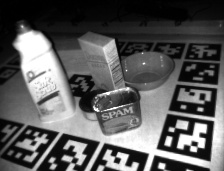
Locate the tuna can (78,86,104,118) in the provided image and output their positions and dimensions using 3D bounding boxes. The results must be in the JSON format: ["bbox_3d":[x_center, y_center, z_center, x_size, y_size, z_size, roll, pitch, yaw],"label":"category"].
[{"bbox_3d":[-0.054,0.041,0.561,0.085,0.034,0.085,-9,42,9],"label":"tuna can"}]

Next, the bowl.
[{"bbox_3d":[0.094,-0.045,0.610,0.161,0.056,0.161,-11,37,9],"label":"bowl"}]

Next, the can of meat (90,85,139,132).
[{"bbox_3d":[0.009,0.054,0.499,0.102,0.084,0.057,-12,36,0],"label":"can of meat"}]

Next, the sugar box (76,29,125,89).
[{"bbox_3d":[-0.023,-0.049,0.548,0.045,0.178,0.091,-41,42,-26],"label":"sugar box"}]

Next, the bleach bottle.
[{"bbox_3d":[-0.173,-0.035,0.519,0.102,0.253,0.067,-11,38,5],"label":"bleach bottle"}]

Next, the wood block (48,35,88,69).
[{"bbox_3d":[-0.122,-0.116,0.735,0.204,0.090,0.091,1,46,16],"label":"wood block"}]
